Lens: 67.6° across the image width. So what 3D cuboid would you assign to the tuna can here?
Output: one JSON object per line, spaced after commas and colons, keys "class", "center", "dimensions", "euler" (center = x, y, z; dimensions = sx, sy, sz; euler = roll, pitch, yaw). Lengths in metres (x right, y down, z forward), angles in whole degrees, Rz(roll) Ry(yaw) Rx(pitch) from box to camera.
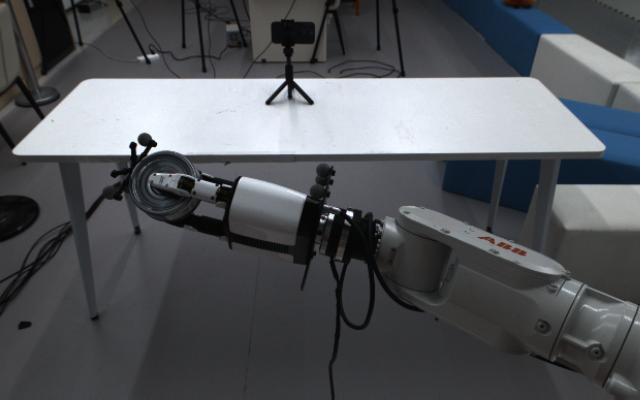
{"class": "tuna can", "center": [-0.190, -0.018, 0.607], "dimensions": [0.085, 0.034, 0.085], "euler": [0, 75, -1]}
